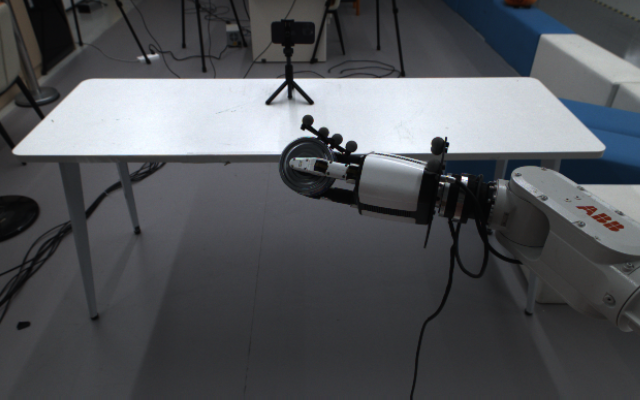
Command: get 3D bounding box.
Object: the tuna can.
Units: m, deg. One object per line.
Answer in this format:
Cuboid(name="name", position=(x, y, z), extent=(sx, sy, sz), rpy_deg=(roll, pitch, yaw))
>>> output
Cuboid(name="tuna can", position=(-0.017, -0.051, 0.721), extent=(0.085, 0.085, 0.034), rpy_deg=(13, -4, 15))
